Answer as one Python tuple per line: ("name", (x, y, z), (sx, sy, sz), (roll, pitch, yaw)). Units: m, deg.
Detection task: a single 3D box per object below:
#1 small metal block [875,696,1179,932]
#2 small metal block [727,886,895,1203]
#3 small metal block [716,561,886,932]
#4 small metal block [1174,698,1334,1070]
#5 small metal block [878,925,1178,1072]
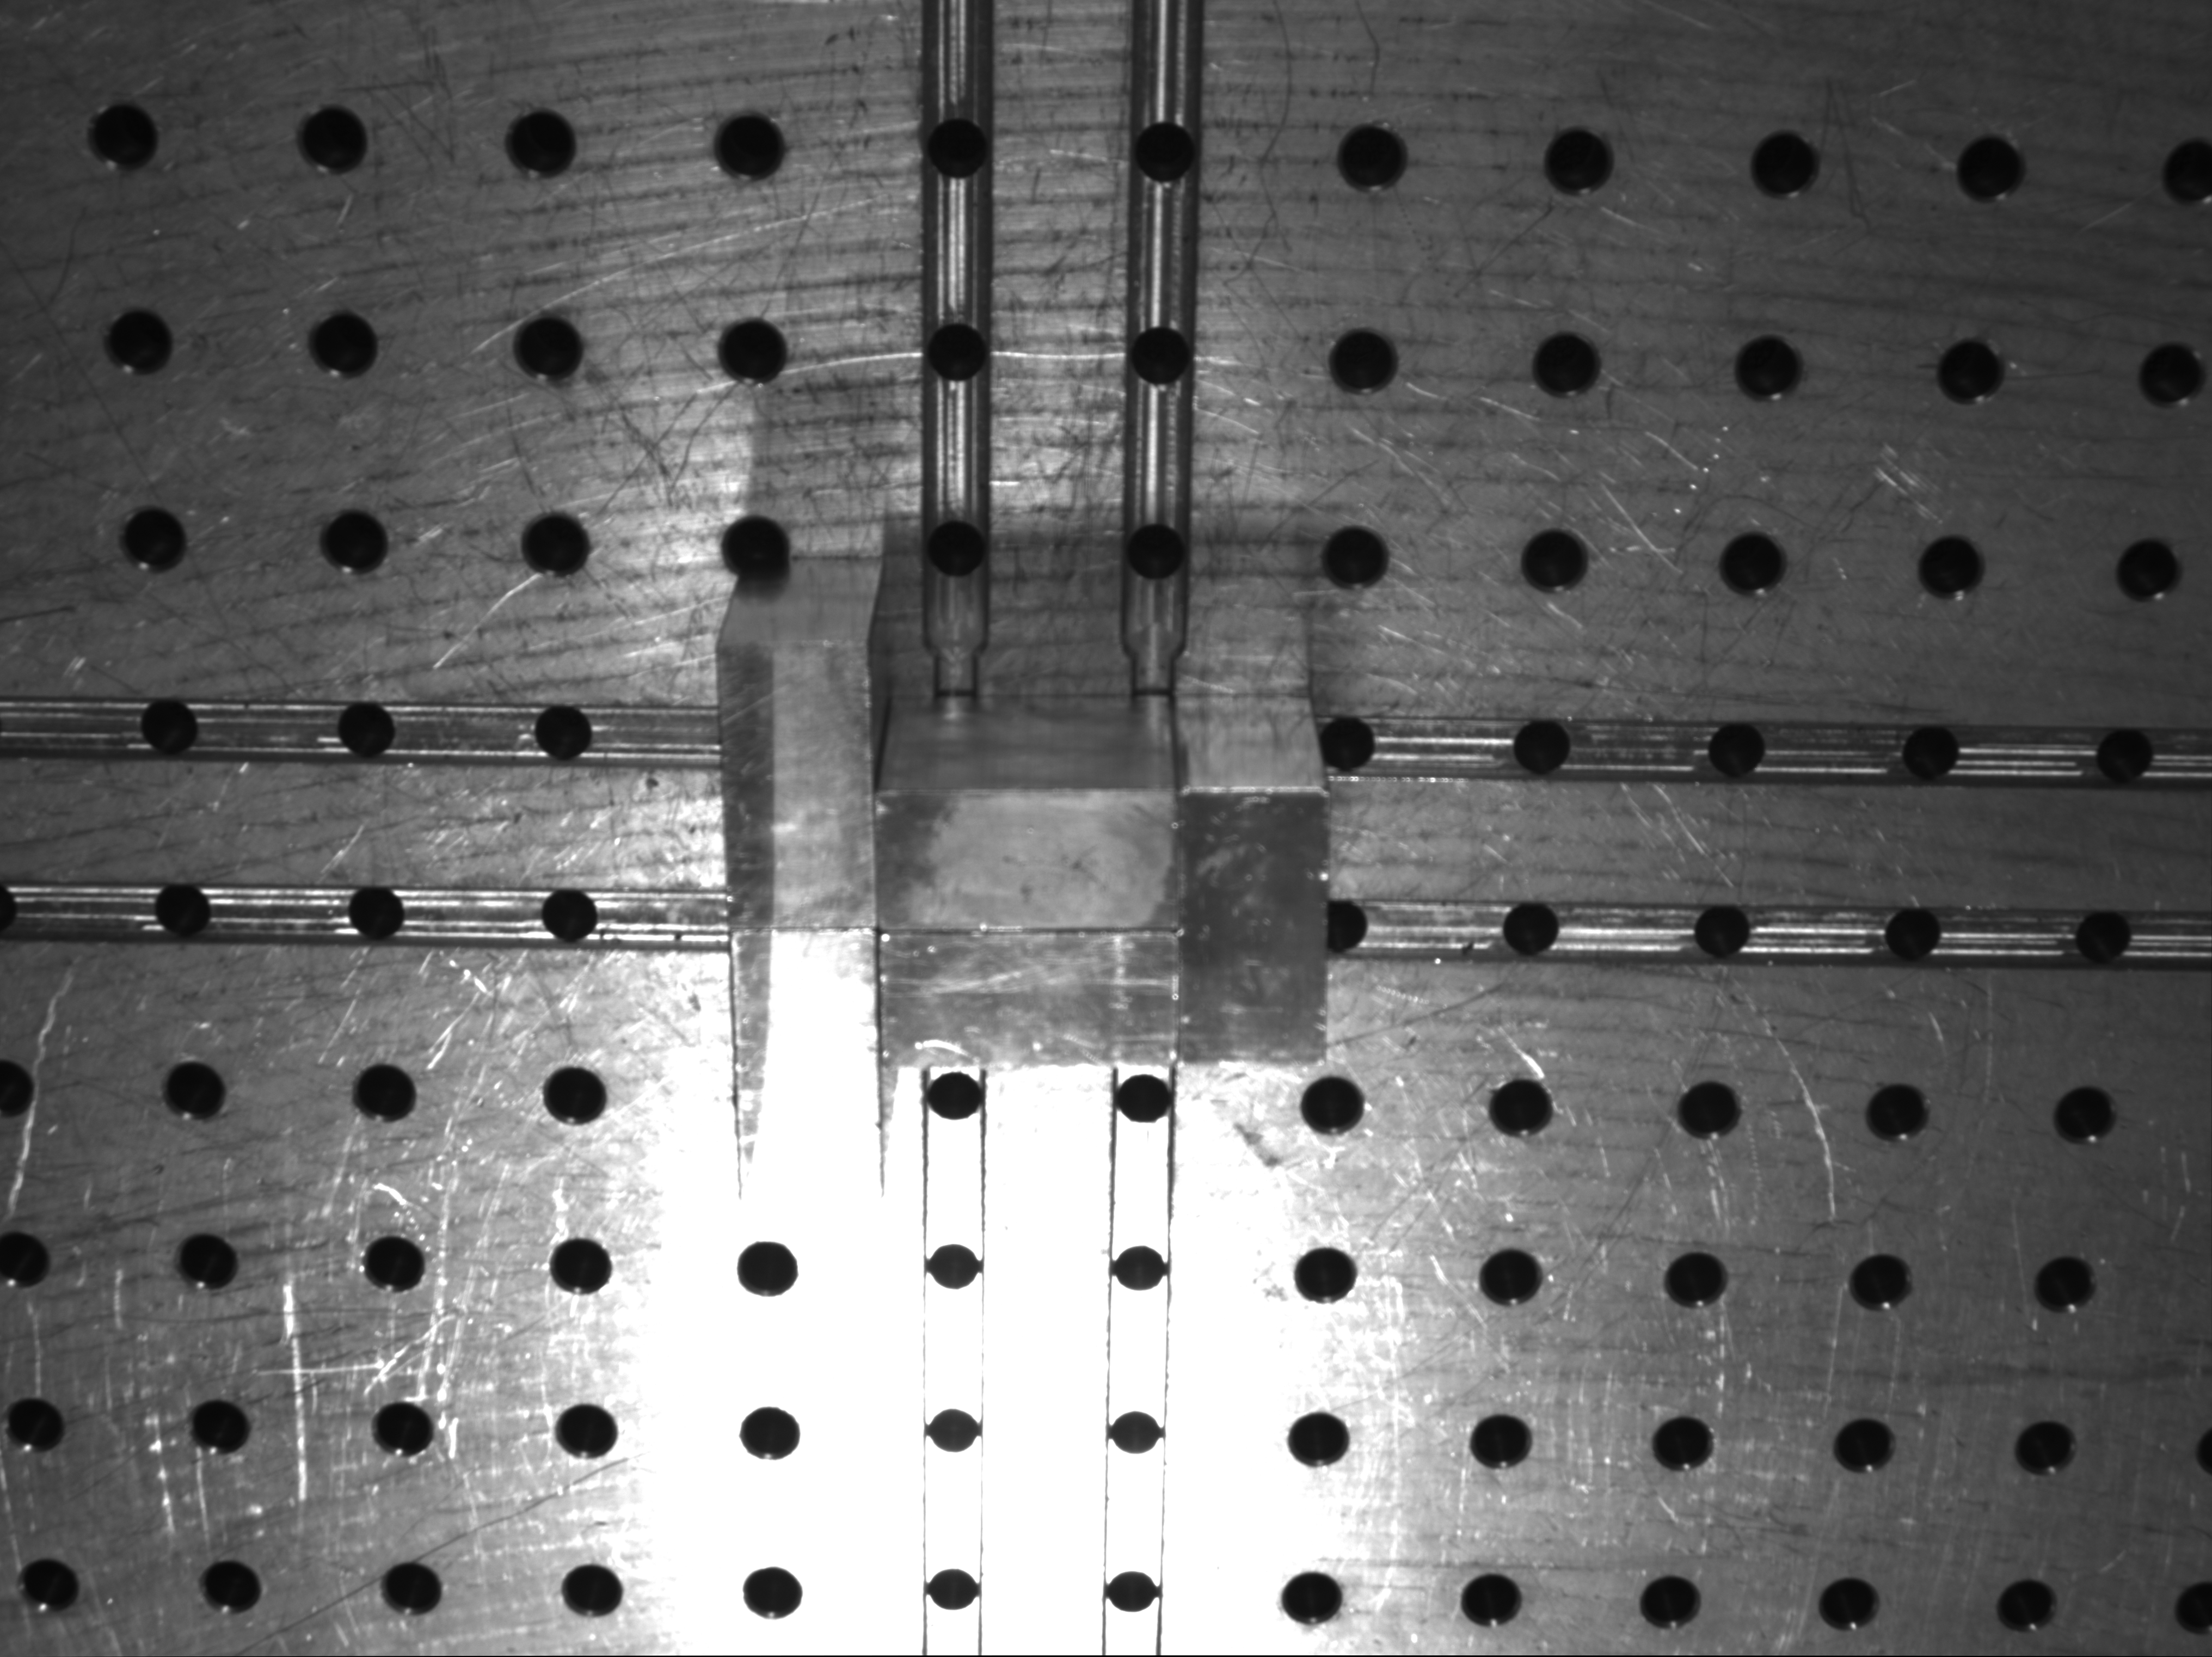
("small metal block", (-0.013, -0.003, 0.630), (0.050, 0.050, 0.025), (0, 110, -1))
("small metal block", (-0.051, 0.032, 0.643), (0.025, 0.050, 0.050), (0, 110, 0))
("small metal block", (-0.051, -0.015, 0.626), (0.025, 0.050, 0.050), (0, 110, 0))
("small metal block", (0.025, 0.009, 0.635), (0.025, 0.050, 0.050), (0, 110, 0))
("small metal block", (-0.013, 0.021, 0.639), (0.050, 0.050, 0.025), (0, 110, -1))
